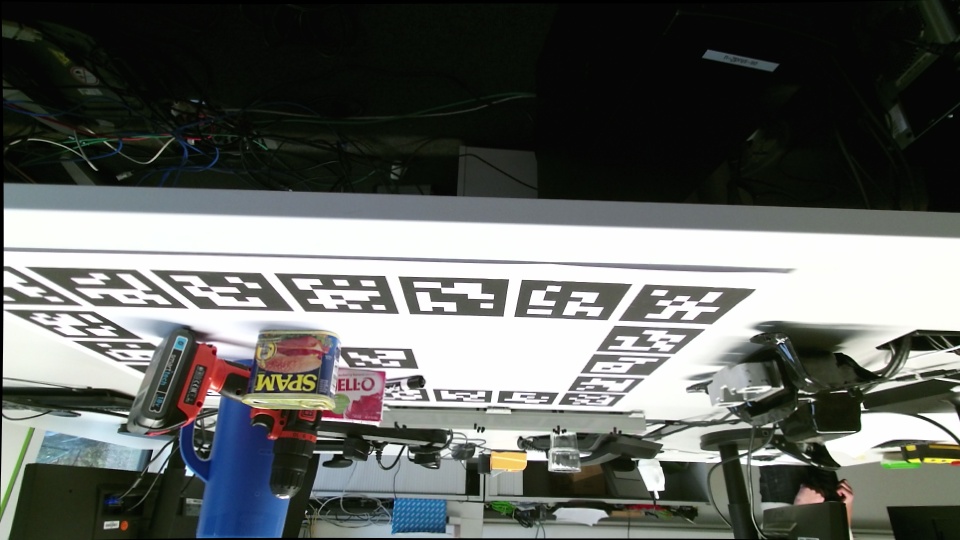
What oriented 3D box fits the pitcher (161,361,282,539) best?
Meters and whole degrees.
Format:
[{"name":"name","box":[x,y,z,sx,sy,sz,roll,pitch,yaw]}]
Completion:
[{"name":"pitcher","box":[-0.344,0.256,0.751,0.189,0.241,0.133,13,146,-34]}]

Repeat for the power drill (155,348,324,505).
[{"name":"power drill","box":[-0.291,0.188,0.672,0.188,0.183,0.057,26,140,-28]}]

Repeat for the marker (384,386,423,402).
[{"name":"marker","box":[-0.145,0.199,0.849,0.121,0.019,0.020,-12,148,21]}]

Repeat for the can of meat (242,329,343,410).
[{"name":"can of meat","box":[-0.219,0.119,0.640,0.102,0.083,0.058,2,153,0]}]

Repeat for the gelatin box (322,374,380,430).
[{"name":"gelatin box","box":[-0.197,0.191,0.788,0.090,0.073,0.030,9,146,-10]}]
